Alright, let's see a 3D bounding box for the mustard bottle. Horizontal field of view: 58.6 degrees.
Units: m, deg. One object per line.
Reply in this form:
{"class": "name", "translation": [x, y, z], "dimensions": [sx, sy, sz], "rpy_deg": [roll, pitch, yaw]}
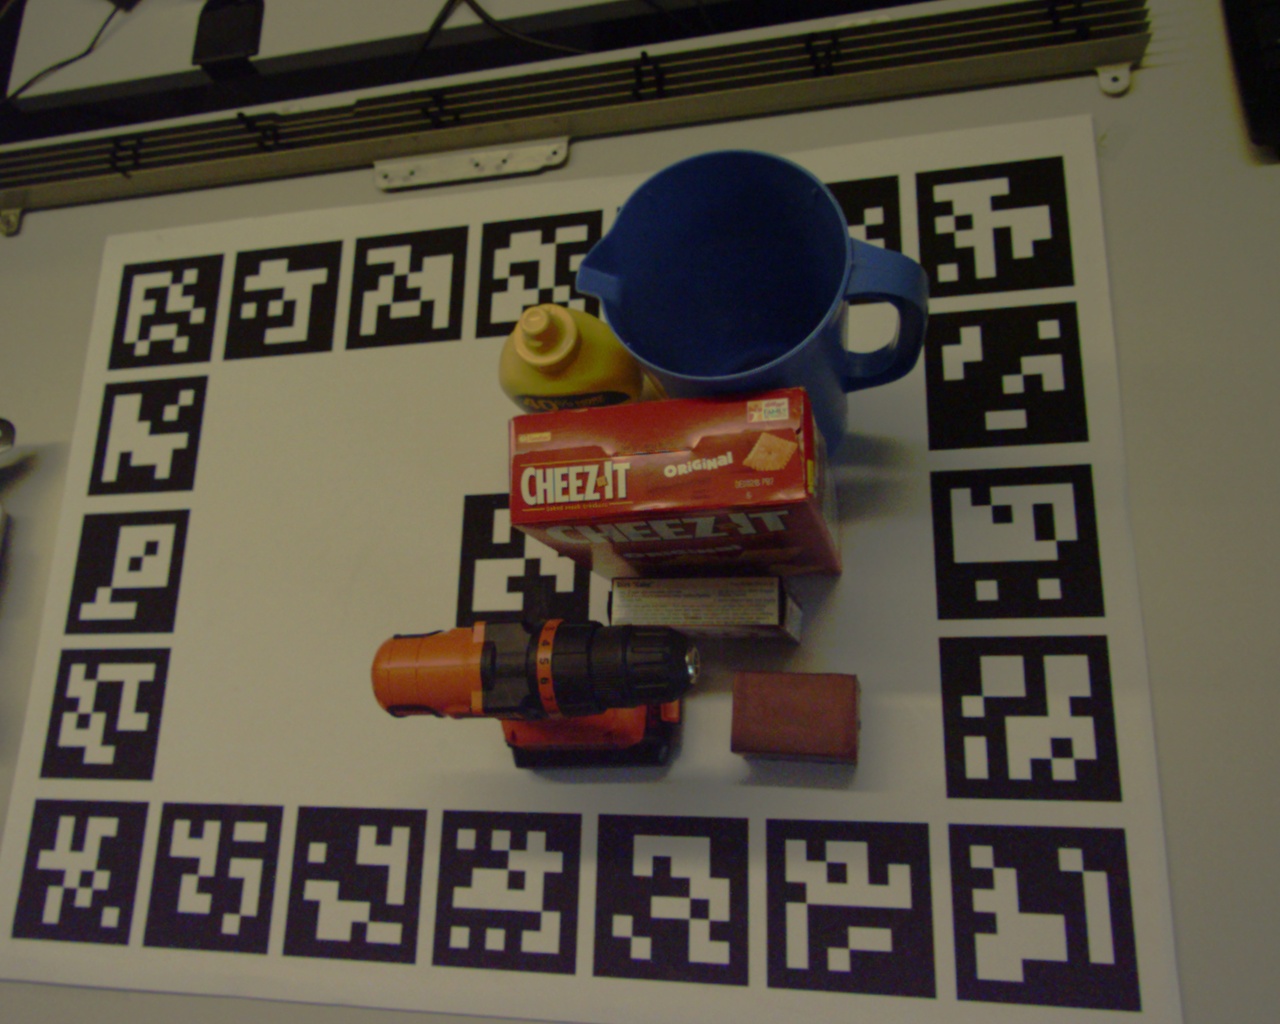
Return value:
{"class": "mustard bottle", "translation": [-0.051, -0.091, 0.775], "dimensions": [0.097, 0.190, 0.058], "rpy_deg": [11, 80, 17]}

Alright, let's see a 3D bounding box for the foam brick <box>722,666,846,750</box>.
{"class": "foam brick", "translation": [0.096, 0.131, 0.760], "dimensions": [0.078, 0.051, 0.053], "rpy_deg": [0, 78, 15]}

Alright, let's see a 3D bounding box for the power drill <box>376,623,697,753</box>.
{"class": "power drill", "translation": [-0.044, 0.109, 0.698], "dimensions": [0.186, 0.185, 0.057], "rpy_deg": [-4, 72, 14]}

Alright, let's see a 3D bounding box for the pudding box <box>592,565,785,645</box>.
{"class": "pudding box", "translation": [0.034, 0.063, 0.761], "dimensions": [0.115, 0.089, 0.039], "rpy_deg": [-2, 74, 18]}

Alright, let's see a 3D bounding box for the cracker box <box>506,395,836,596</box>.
{"class": "cracker box", "translation": [0.029, 0.003, 0.721], "dimensions": [0.165, 0.211, 0.072], "rpy_deg": [-5, 73, 16]}

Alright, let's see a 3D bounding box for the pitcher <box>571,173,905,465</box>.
{"class": "pitcher", "translation": [0.075, -0.099, 0.730], "dimensions": [0.190, 0.240, 0.133], "rpy_deg": [3, 77, 18]}
